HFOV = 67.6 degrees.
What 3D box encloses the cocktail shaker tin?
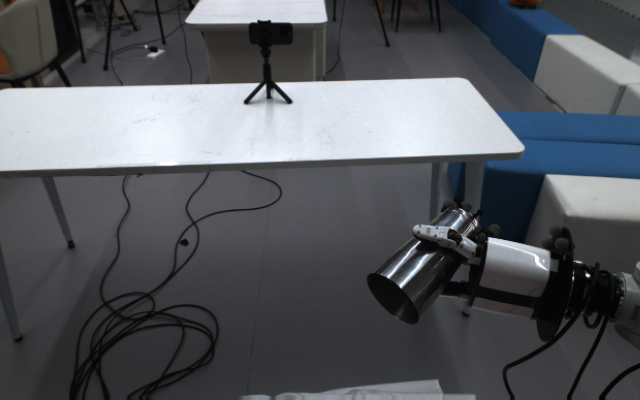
[{"bbox_3d":[0.158,0.081,0.699,0.170,0.093,0.093,-38,49,-23],"label":"cocktail shaker tin"}]
